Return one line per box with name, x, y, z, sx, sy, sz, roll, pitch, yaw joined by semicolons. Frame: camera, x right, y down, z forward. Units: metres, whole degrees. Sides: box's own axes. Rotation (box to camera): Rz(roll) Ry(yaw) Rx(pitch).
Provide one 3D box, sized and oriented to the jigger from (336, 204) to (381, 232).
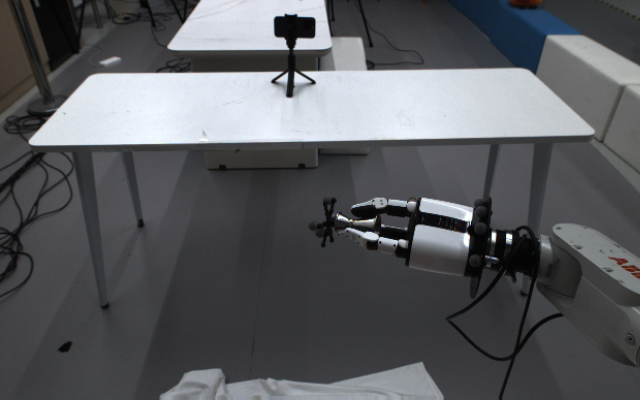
jigger;0.069;0.035;0.794;0.071;0.043;0.043;4;33;21
